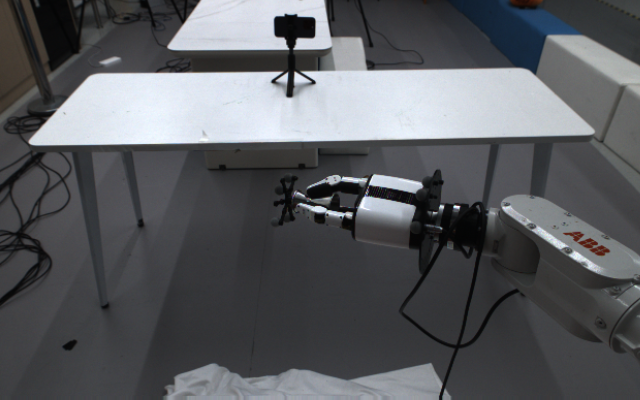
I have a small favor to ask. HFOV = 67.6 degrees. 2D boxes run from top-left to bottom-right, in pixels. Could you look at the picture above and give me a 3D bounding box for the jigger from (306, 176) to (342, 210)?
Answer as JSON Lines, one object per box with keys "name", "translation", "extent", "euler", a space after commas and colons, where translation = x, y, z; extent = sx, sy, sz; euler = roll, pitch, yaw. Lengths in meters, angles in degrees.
{"name": "jigger", "translation": [-0.002, 0.003, 0.782], "extent": [0.071, 0.043, 0.043], "euler": [8, 34, 23]}
